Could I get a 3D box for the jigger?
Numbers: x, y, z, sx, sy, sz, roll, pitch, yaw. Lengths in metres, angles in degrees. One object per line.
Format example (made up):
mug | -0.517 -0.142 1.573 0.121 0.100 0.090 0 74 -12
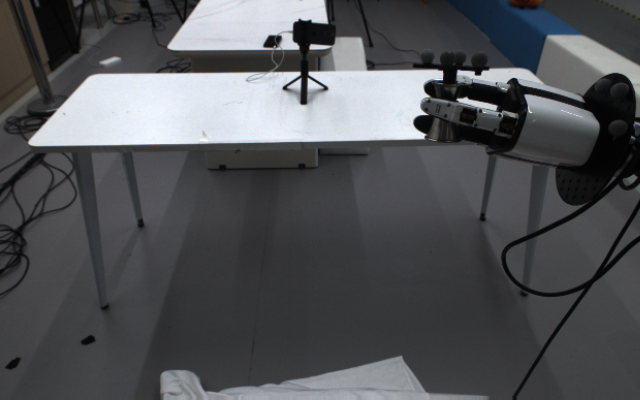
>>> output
jigger | 0.150 -0.108 0.586 0.043 0.071 0.043 1 20 0
